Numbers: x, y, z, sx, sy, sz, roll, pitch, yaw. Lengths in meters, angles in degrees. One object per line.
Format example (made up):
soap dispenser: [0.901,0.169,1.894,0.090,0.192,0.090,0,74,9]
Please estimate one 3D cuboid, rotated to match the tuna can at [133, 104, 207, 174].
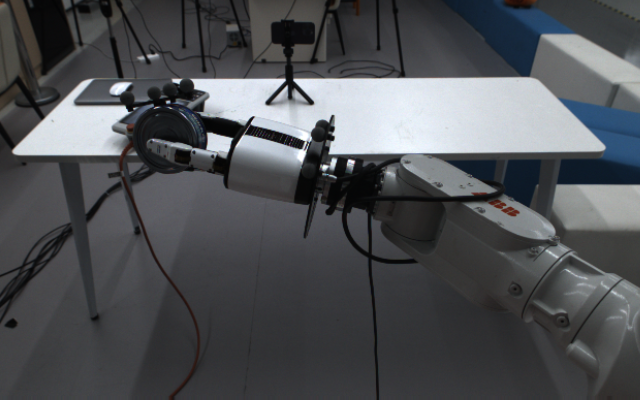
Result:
tuna can: [-0.187,-0.076,0.606,0.085,0.085,0.034,6,18,5]
